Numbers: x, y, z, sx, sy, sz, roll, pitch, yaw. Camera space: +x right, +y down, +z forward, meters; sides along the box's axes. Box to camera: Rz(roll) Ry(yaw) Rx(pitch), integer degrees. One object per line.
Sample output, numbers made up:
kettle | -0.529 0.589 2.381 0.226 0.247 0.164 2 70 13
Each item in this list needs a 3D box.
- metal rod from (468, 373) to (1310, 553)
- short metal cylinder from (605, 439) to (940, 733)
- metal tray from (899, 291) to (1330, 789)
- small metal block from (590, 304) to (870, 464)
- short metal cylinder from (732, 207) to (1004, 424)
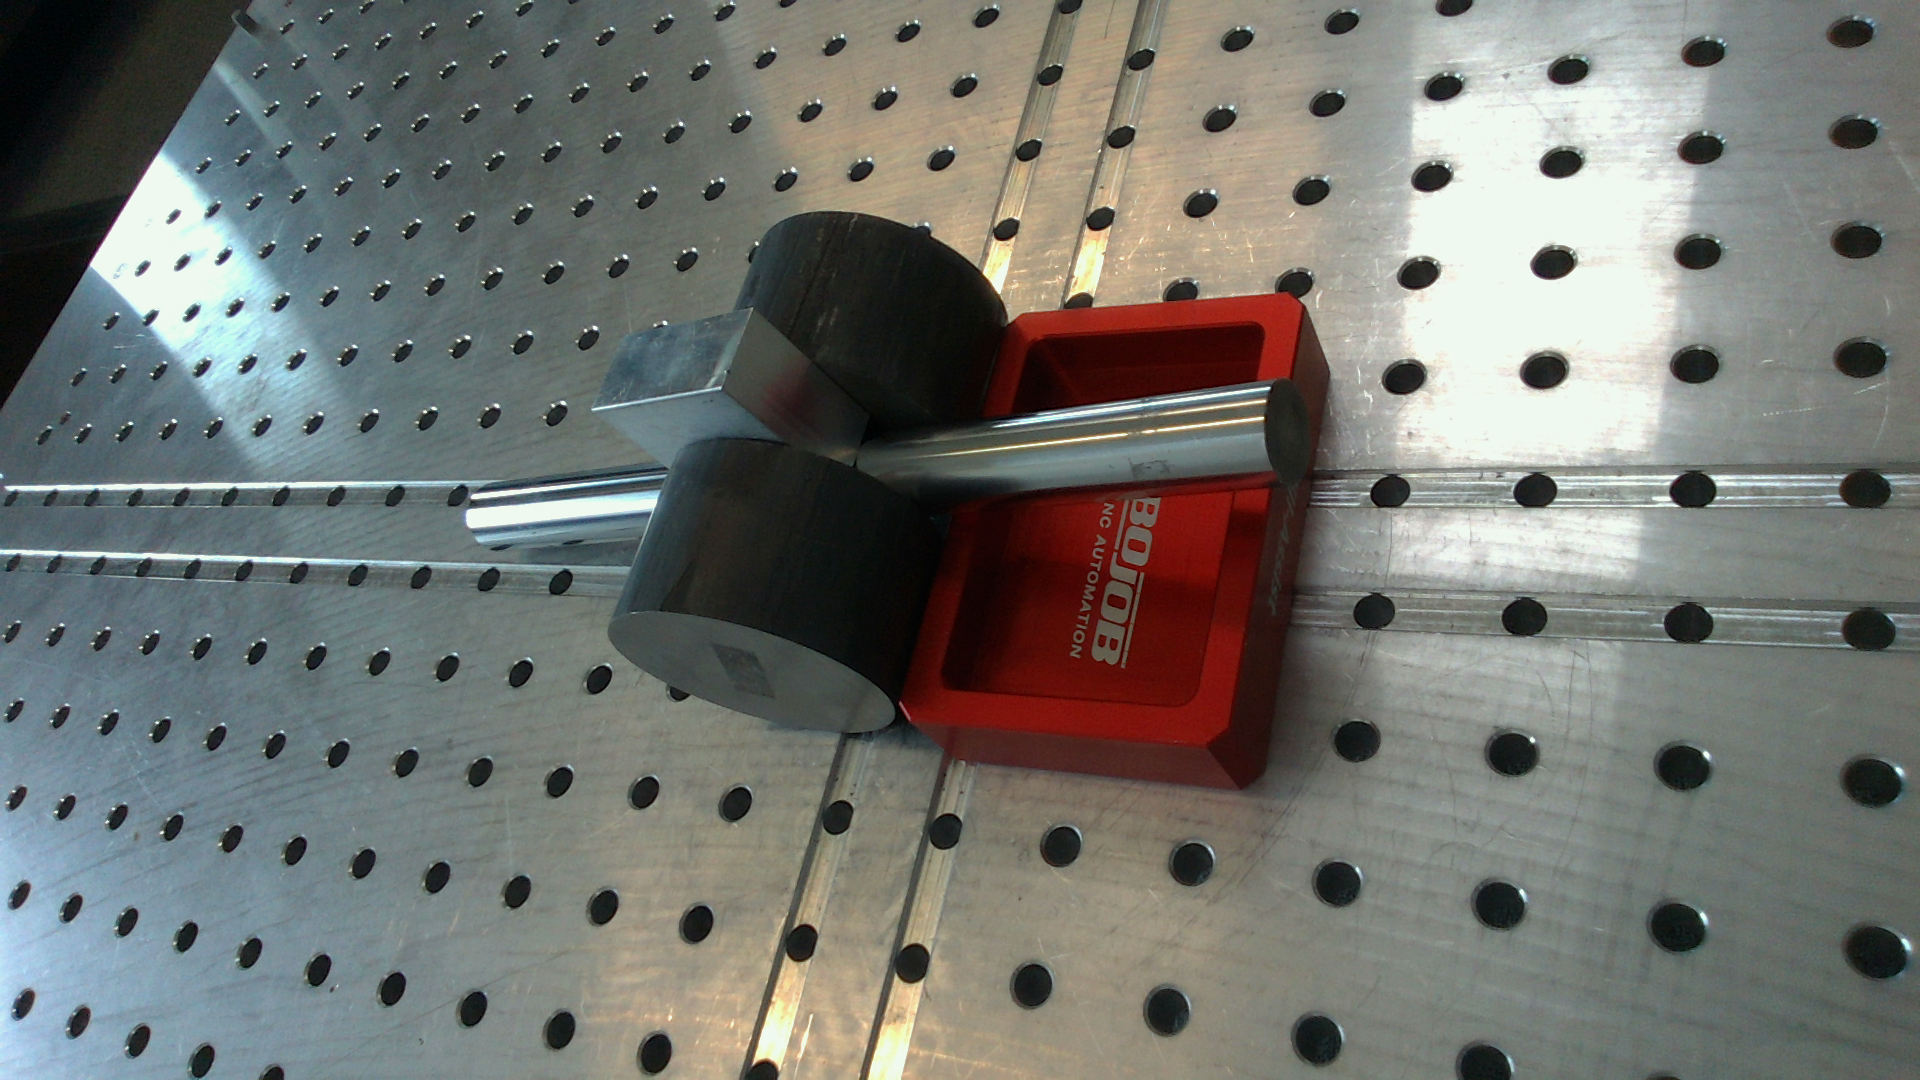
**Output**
metal rod | -0.045 -0.017 0.401 0.299 0.025 0.025 -4 59 37
short metal cylinder | -0.050 0.015 0.379 0.080 0.080 0.050 1 62 29
metal tray | 0.044 -0.003 0.372 0.090 0.030 0.130 1 62 29
small metal block | -0.062 -0.035 0.374 0.050 0.050 0.025 -4 59 36
short metal cylinder | -0.031 -0.053 0.408 0.080 0.080 0.050 1 62 29
